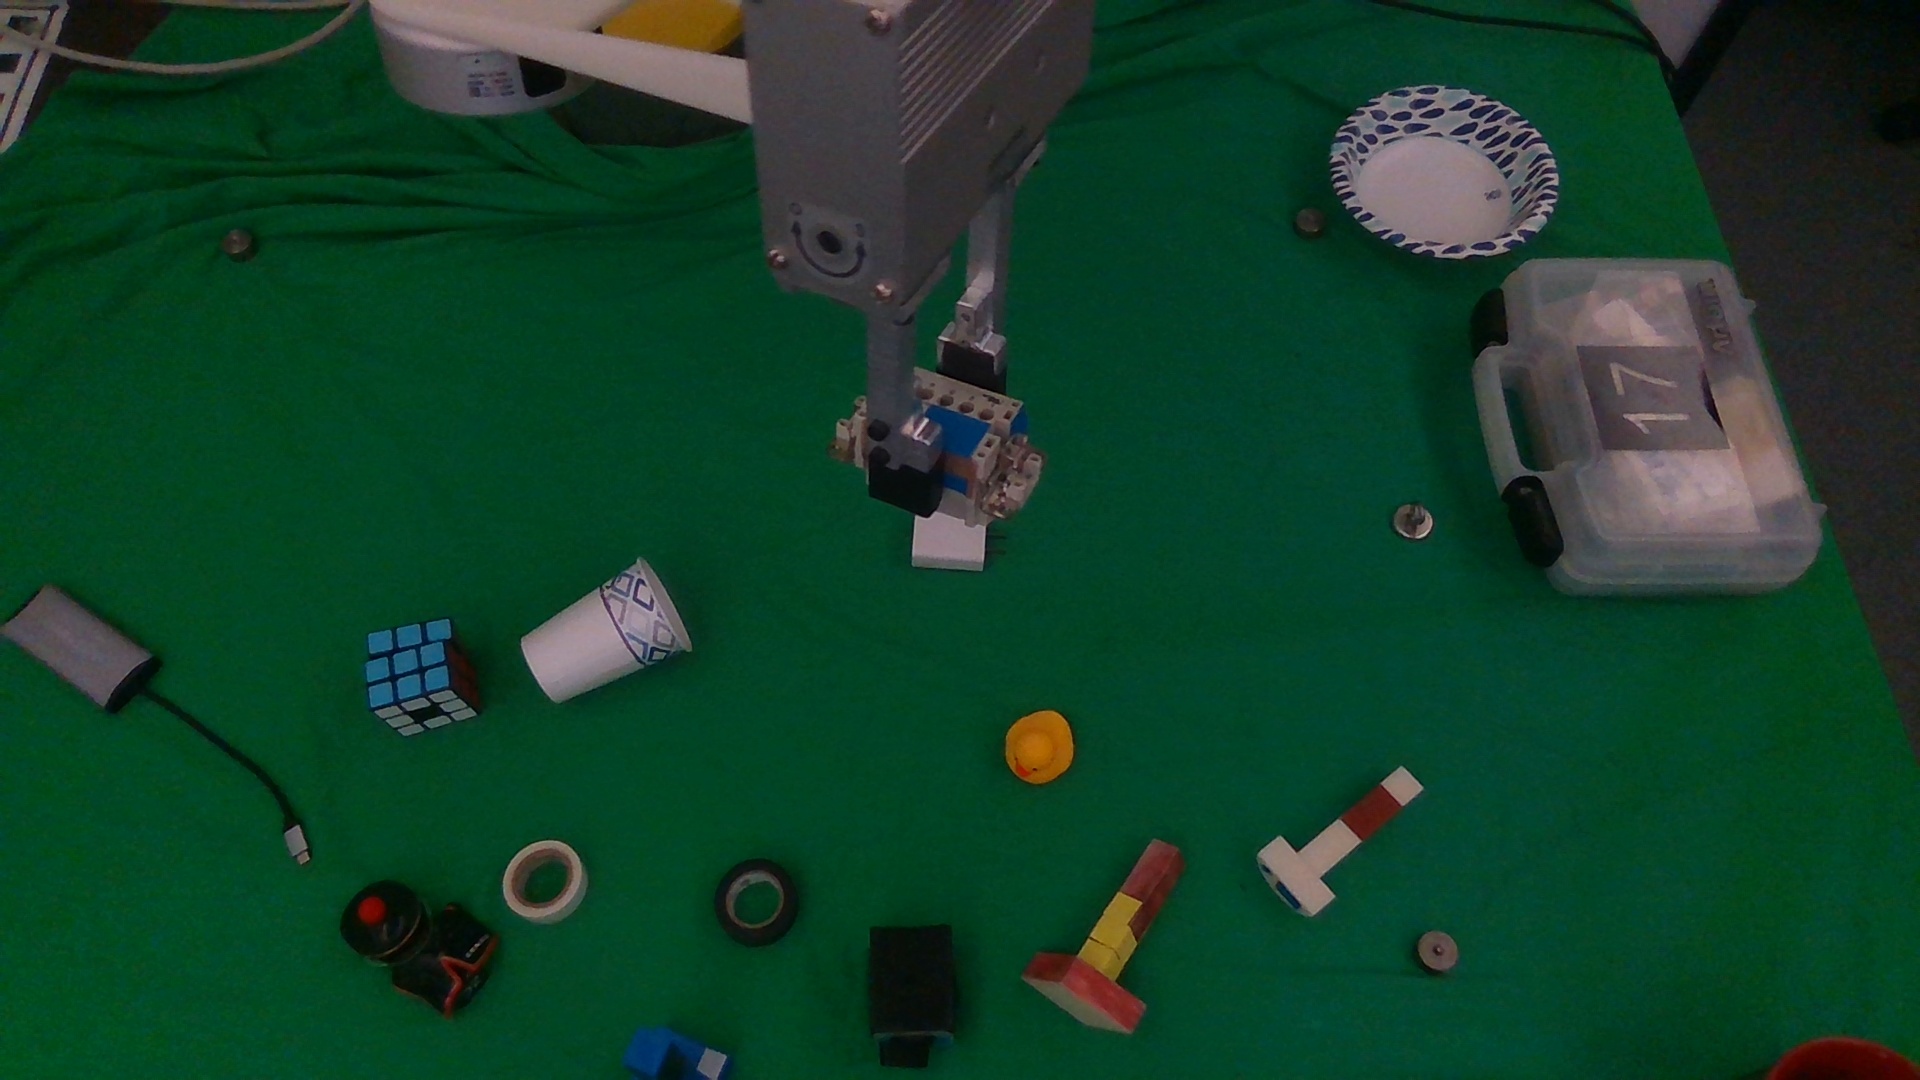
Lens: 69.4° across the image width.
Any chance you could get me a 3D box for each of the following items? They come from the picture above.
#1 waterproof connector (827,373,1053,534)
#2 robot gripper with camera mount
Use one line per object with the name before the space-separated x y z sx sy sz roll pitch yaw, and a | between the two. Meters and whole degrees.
waterproof connector | -0.006 -0.026 0.427 0.065 0.037 0.035 20 44 11
robot gripper with camera mount | -0.079 -0.103 0.392 0.194 0.158 0.119 19 49 14
